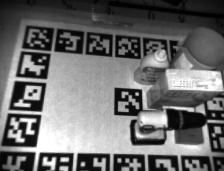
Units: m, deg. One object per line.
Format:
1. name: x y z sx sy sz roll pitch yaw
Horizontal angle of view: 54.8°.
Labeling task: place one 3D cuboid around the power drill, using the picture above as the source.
1. power drill: 0.162 0.109 0.621 0.185 0.187 0.057 1 66 -8

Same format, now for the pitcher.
1. pitcher: 0.280 -0.081 0.718 0.189 0.243 0.133 8 69 -2

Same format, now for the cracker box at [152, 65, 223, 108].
1. cracker box: 0.231 0.014 0.682 0.164 0.214 0.072 0 68 -5

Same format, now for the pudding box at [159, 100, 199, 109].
1. pudding box: 0.217 0.078 0.715 0.114 0.090 0.038 3 68 -4

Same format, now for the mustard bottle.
1. mustard bottle: 0.146 -0.083 0.712 0.096 0.191 0.058 15 70 -1

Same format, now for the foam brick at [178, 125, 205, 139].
1. foam brick: 0.270 0.152 0.730 0.078 0.051 0.052 5 71 -6
